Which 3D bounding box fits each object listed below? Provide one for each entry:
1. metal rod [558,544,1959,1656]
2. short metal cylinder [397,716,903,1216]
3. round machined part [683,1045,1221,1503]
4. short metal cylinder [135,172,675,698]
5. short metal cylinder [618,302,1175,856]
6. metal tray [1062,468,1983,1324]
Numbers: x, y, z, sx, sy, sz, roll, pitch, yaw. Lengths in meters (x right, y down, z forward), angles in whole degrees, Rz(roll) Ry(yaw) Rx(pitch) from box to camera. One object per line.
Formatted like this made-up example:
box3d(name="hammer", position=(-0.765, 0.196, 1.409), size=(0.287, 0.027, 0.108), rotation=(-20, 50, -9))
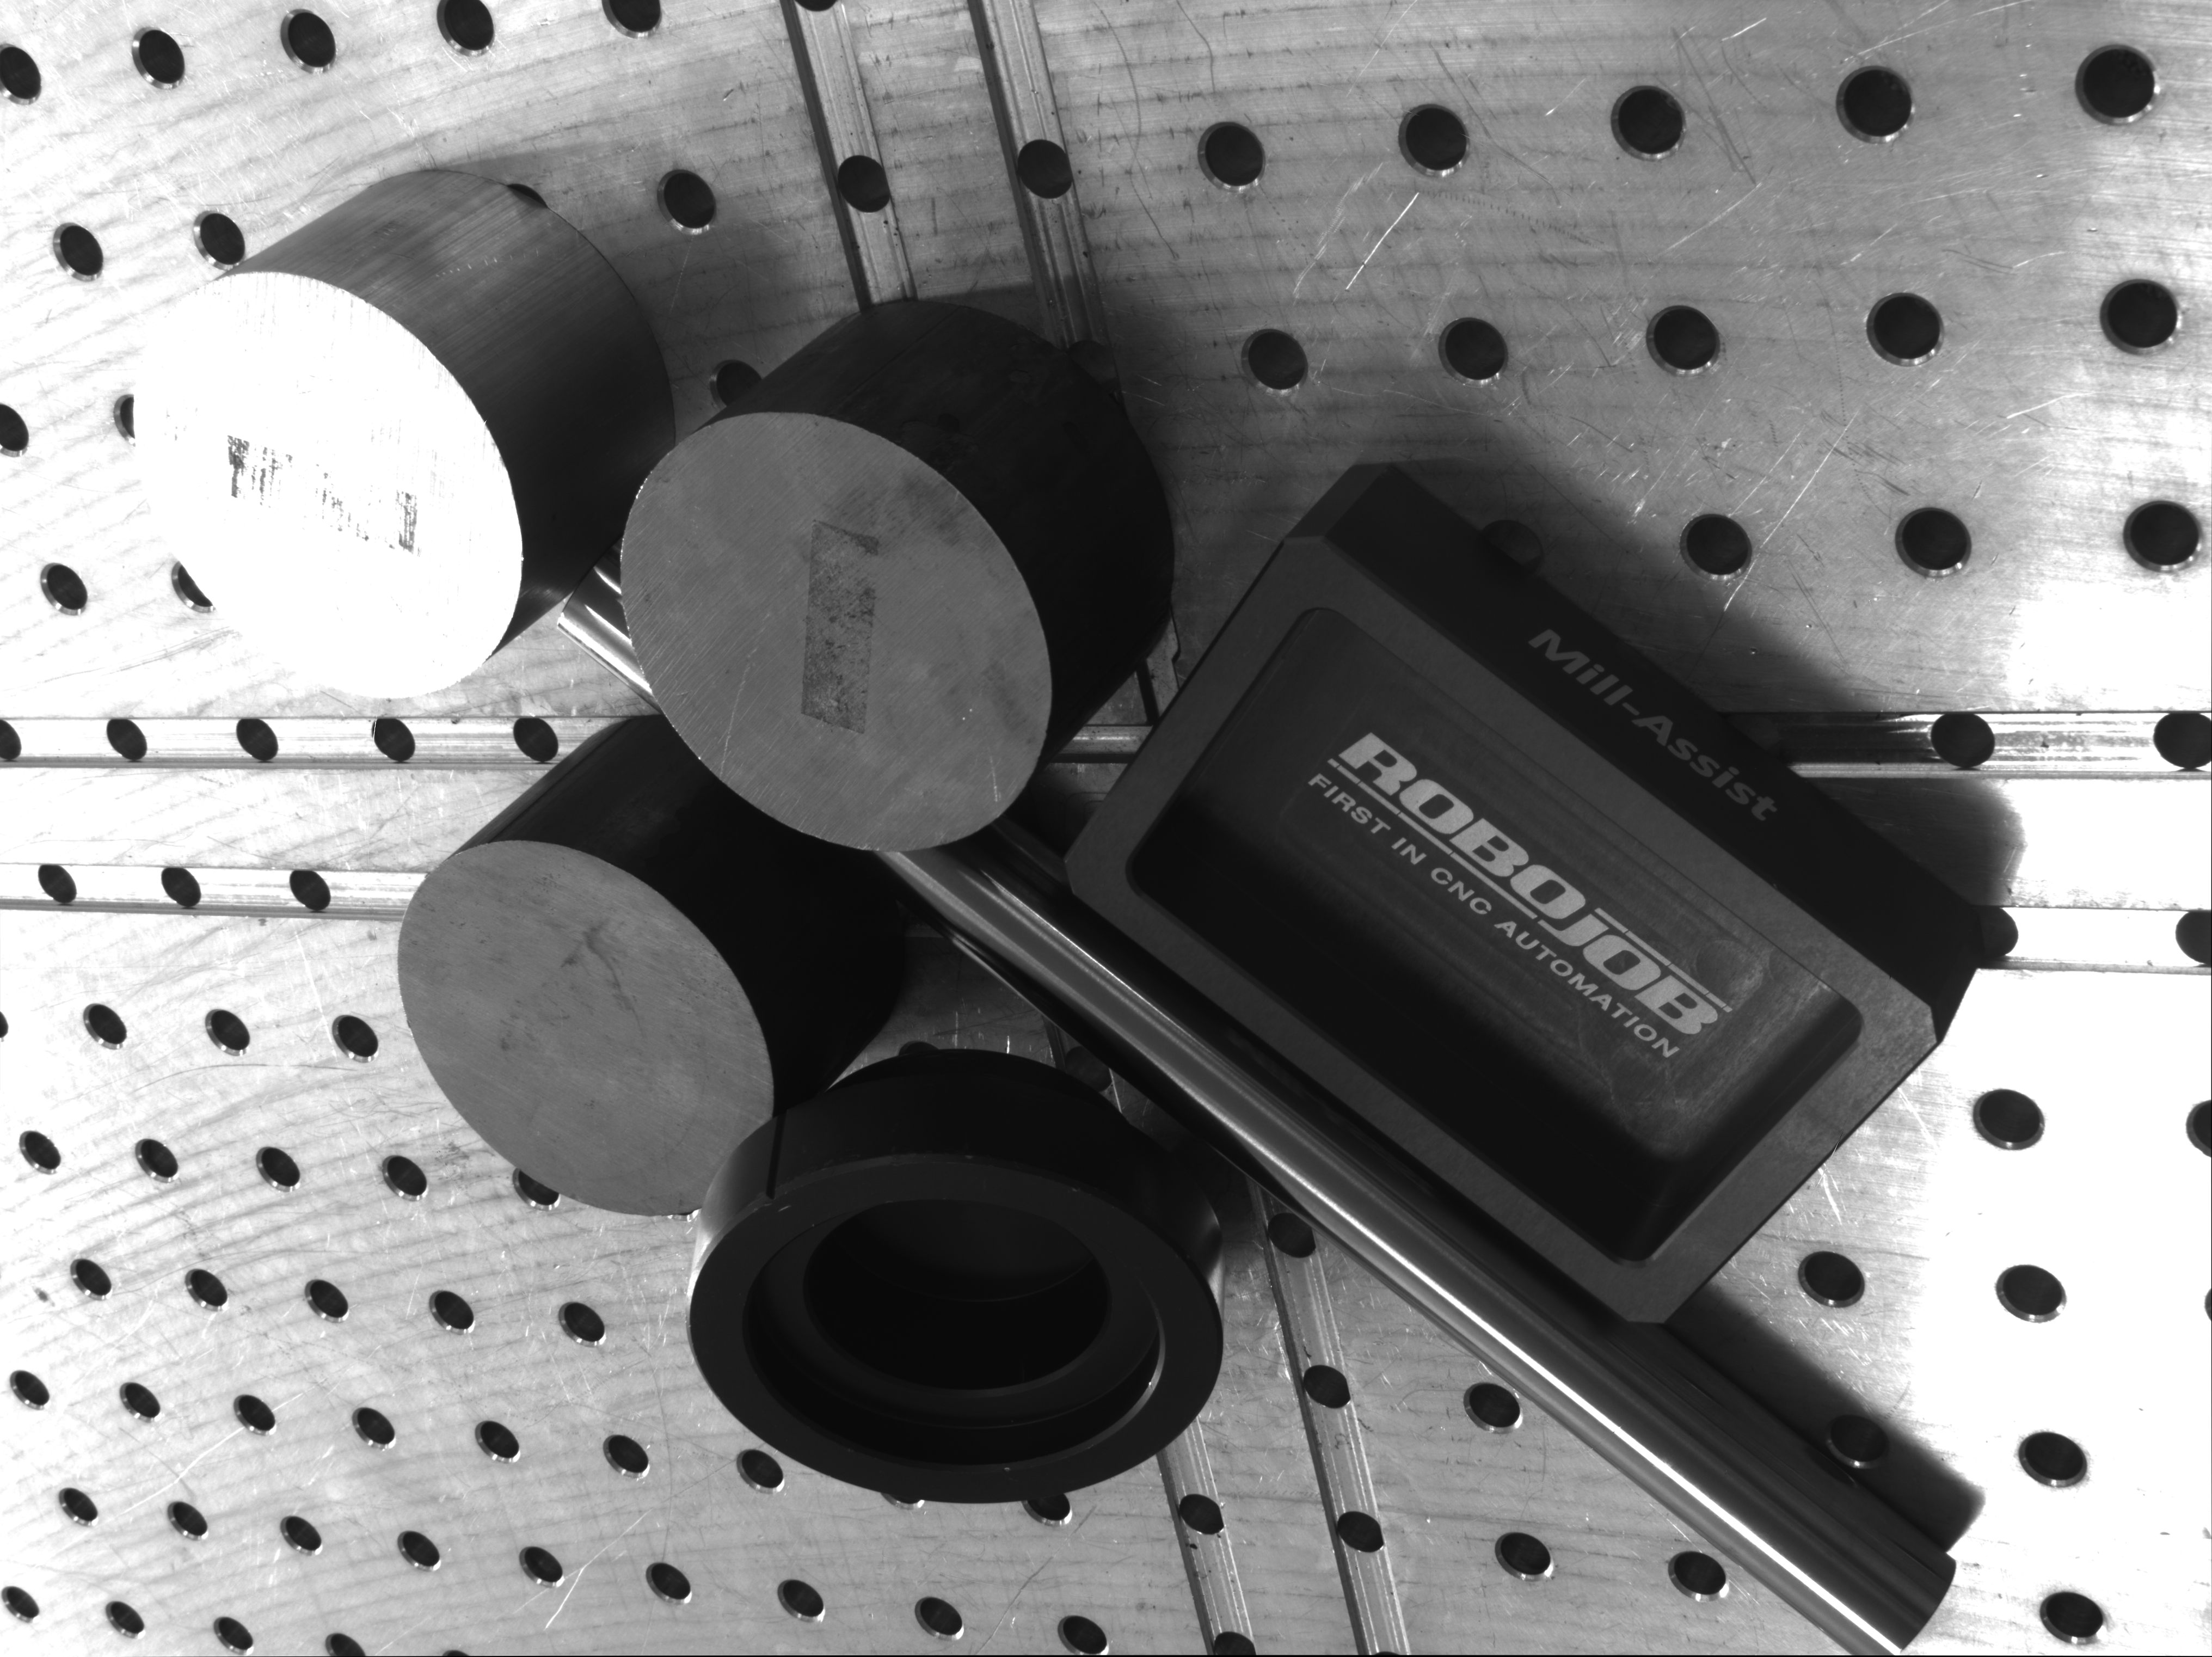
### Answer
box3d(name="metal rod", position=(0.026, 0.047, 0.661), size=(0.300, 0.025, 0.025), rotation=(38, 129, 3))
box3d(name="short metal cylinder", position=(-0.085, 0.026, 0.690), size=(0.080, 0.050, 0.080), rotation=(13, 124, 21))
box3d(name="round machined part", position=(-0.027, 0.079, 0.683), size=(0.098, 0.042, 0.098), rotation=(2, 131, 2))
box3d(name="short metal cylinder", position=(-0.124, -0.070, 0.653), size=(0.080, 0.050, 0.080), rotation=(13, 124, 21))
box3d(name="short metal cylinder", position=(-0.035, -0.042, 0.621), size=(0.080, 0.050, 0.080), rotation=(13, 124, 21))
box3d(name="metal tray", position=(0.067, 0.013, 0.613), size=(0.130, 0.030, 0.090), rotation=(37, 130, 3))
